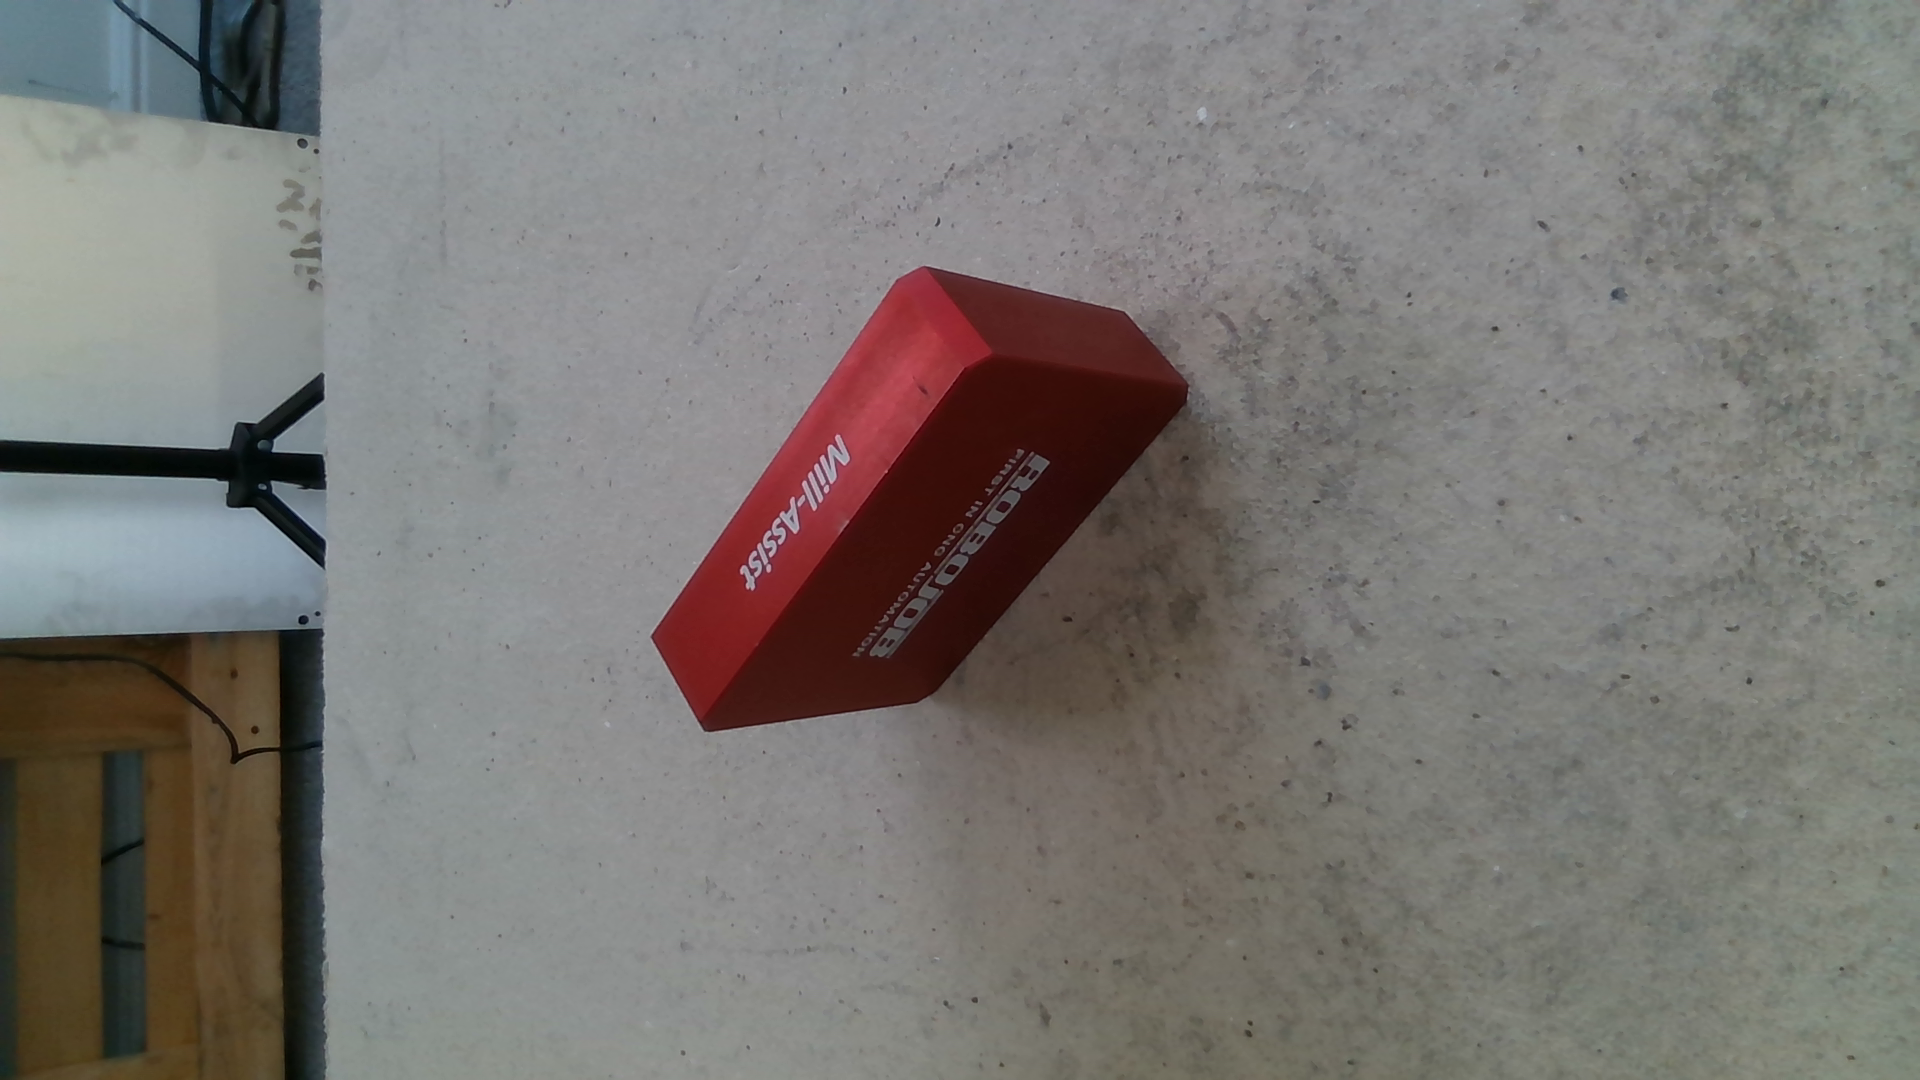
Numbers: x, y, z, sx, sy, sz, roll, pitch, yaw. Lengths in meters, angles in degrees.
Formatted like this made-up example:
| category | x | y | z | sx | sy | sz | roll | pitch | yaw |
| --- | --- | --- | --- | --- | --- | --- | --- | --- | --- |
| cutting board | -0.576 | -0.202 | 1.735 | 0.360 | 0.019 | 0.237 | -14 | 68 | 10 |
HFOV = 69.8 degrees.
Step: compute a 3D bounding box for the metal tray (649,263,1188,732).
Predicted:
| category | x | y | z | sx | sy | sz | roll | pitch | yaw |
| --- | --- | --- | --- | --- | --- | --- | --- | --- | --- |
| metal tray | -0.011 | -0.006 | 0.357 | 0.130 | 0.090 | 0.030 | -51 | 60 | 29 |
